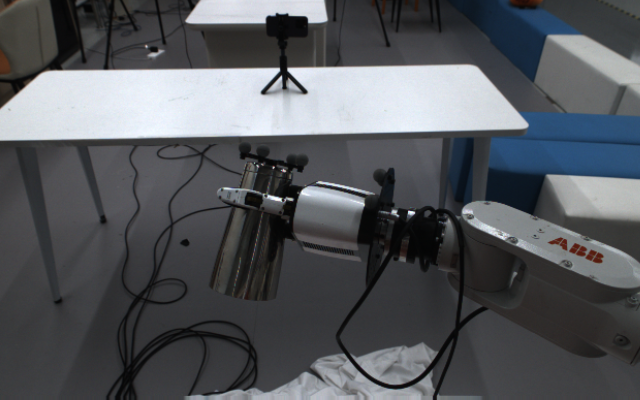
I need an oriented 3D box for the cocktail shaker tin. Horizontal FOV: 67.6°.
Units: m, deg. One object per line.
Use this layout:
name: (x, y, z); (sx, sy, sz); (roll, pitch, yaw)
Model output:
cocktail shaker tin: (-0.082, 0.037, 0.650); (0.093, 0.170, 0.093); (13, 1, 0)
